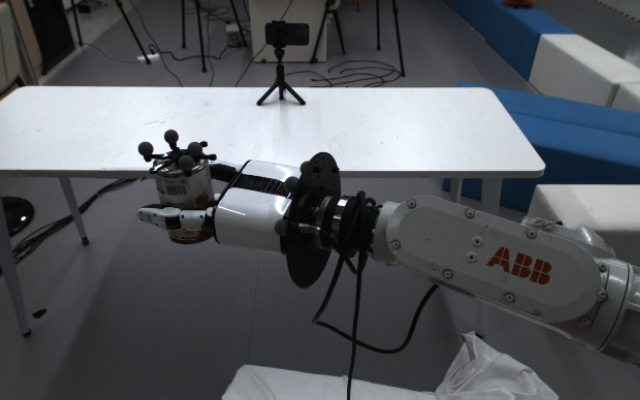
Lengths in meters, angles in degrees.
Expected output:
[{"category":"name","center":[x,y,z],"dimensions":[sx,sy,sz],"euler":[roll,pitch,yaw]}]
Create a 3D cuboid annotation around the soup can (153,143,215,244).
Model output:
[{"category":"soup can","center":[-0.166,-0.003,0.610],"dimensions":[0.067,0.101,0.067],"euler":[-1,32,1]}]
